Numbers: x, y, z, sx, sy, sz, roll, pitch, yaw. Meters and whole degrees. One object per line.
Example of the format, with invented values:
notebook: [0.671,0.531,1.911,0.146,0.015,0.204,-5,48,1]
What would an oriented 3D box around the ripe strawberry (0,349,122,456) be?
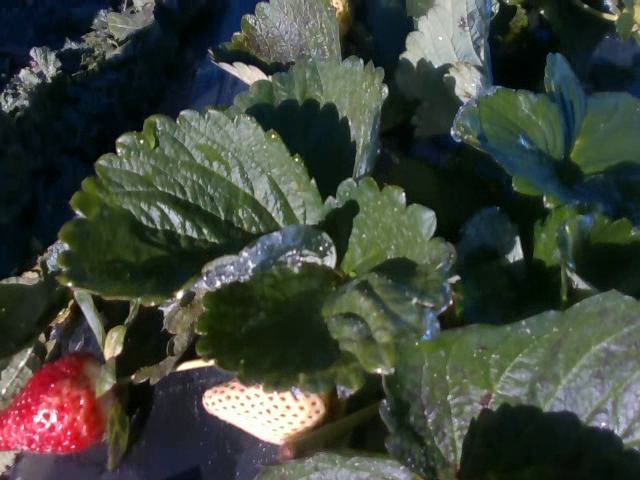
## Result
ripe strawberry: [-0.110,0.067,0.242,0.068,0.040,0.048,-30,40,4]
